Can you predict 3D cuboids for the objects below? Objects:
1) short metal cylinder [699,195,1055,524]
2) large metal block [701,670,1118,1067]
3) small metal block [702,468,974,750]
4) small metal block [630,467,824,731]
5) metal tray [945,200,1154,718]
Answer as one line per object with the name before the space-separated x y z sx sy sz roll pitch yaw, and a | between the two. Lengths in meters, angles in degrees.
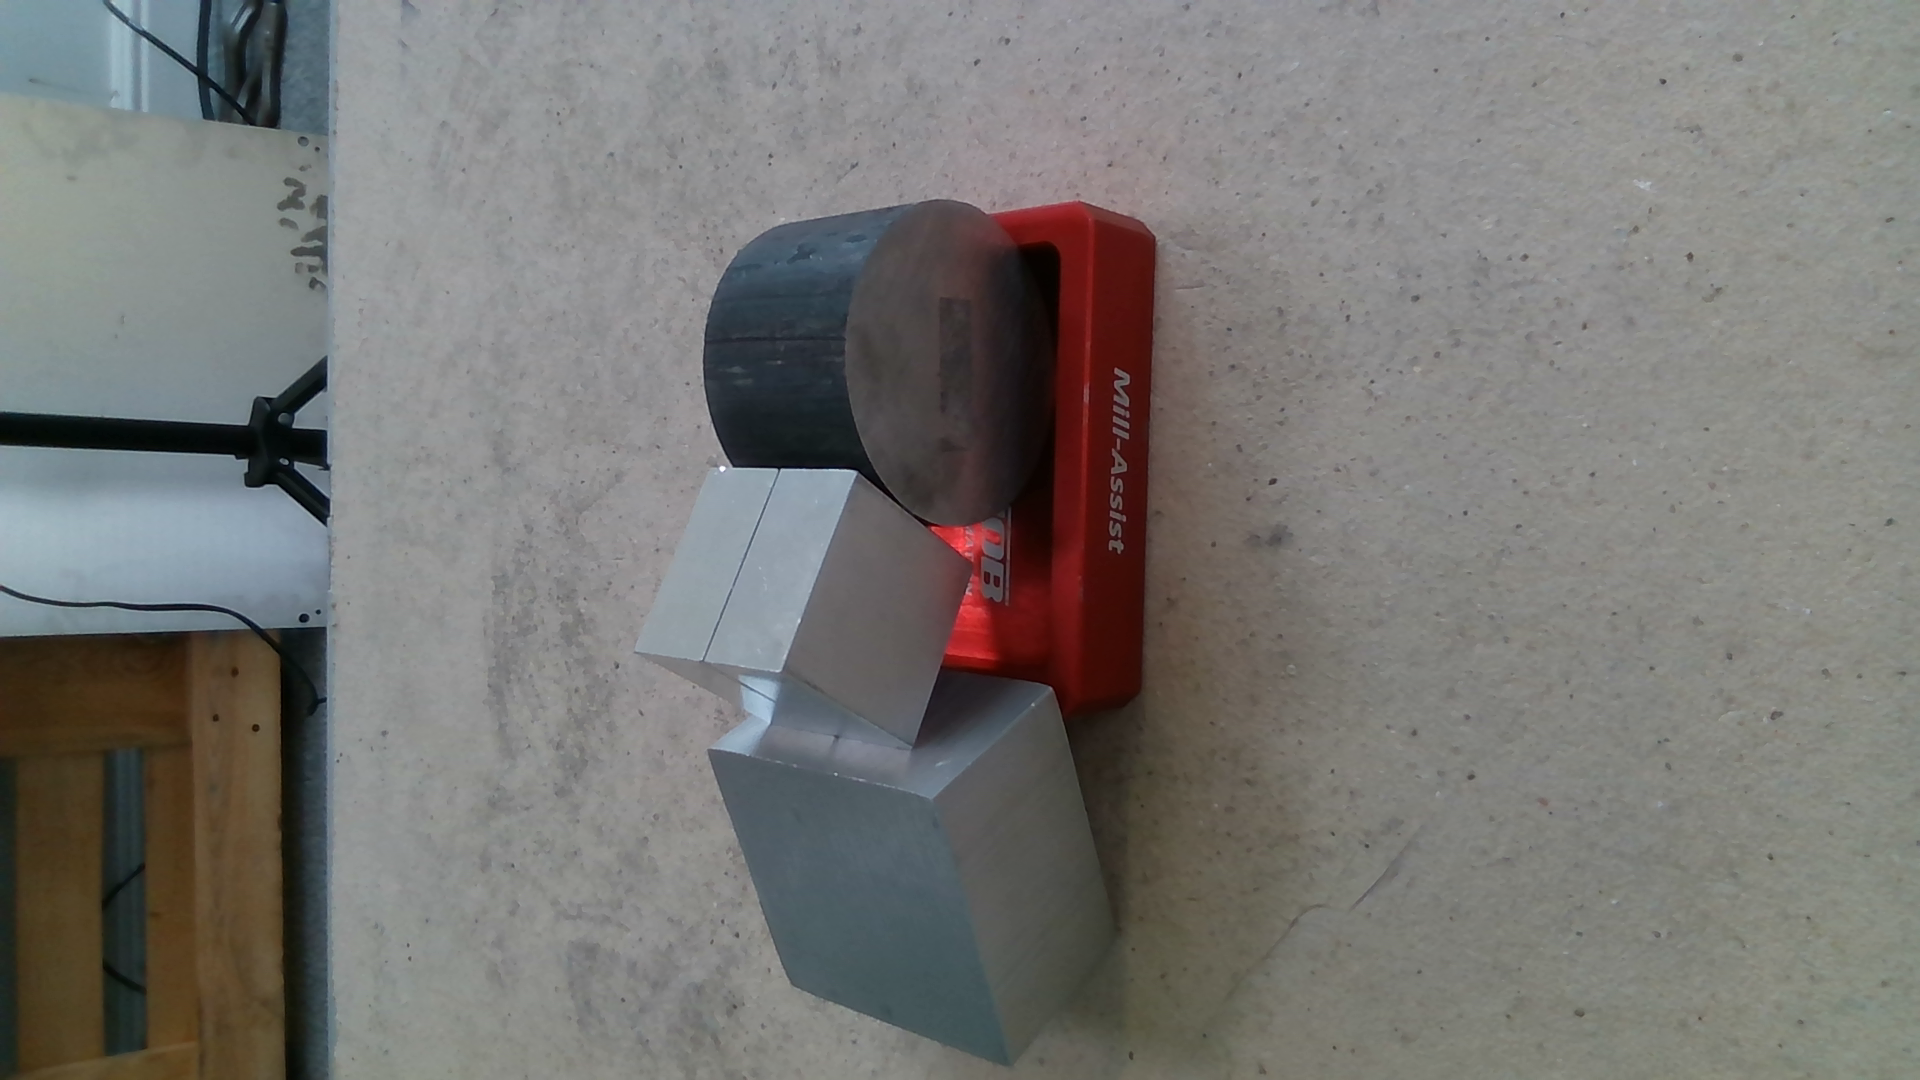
short metal cylinder | -0.020 -0.044 0.354 0.050 0.080 0.080 1 91 40
large metal block | -0.013 0.081 0.367 0.080 0.050 0.080 4 119 40
small metal block | -0.027 0.017 0.330 0.025 0.050 0.050 3 66 39
small metal block | -0.048 0.016 0.346 0.025 0.050 0.050 3 66 39
metal tray | 0.006 -0.022 0.382 0.090 0.030 0.130 3 92 40
